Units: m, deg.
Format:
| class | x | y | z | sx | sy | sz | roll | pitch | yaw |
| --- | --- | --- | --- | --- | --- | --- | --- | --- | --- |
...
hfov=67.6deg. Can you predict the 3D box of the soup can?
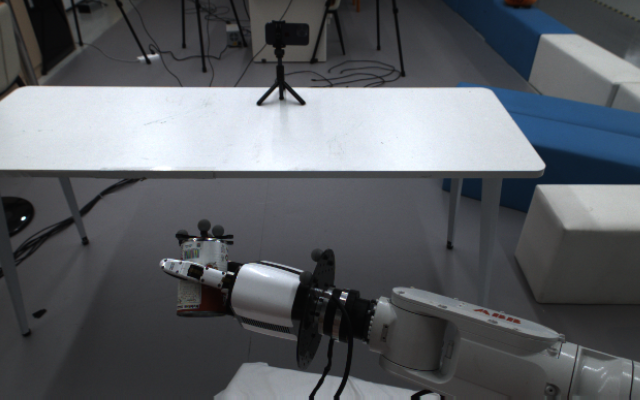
| class | x | y | z | sx | sy | sz | roll | pitch | yaw |
| --- | --- | --- | --- | --- | --- | --- | --- | --- | --- |
| soup can | -0.160 | 0.110 | 0.671 | 0.067 | 0.067 | 0.101 | -1 | 71 | -5 |
